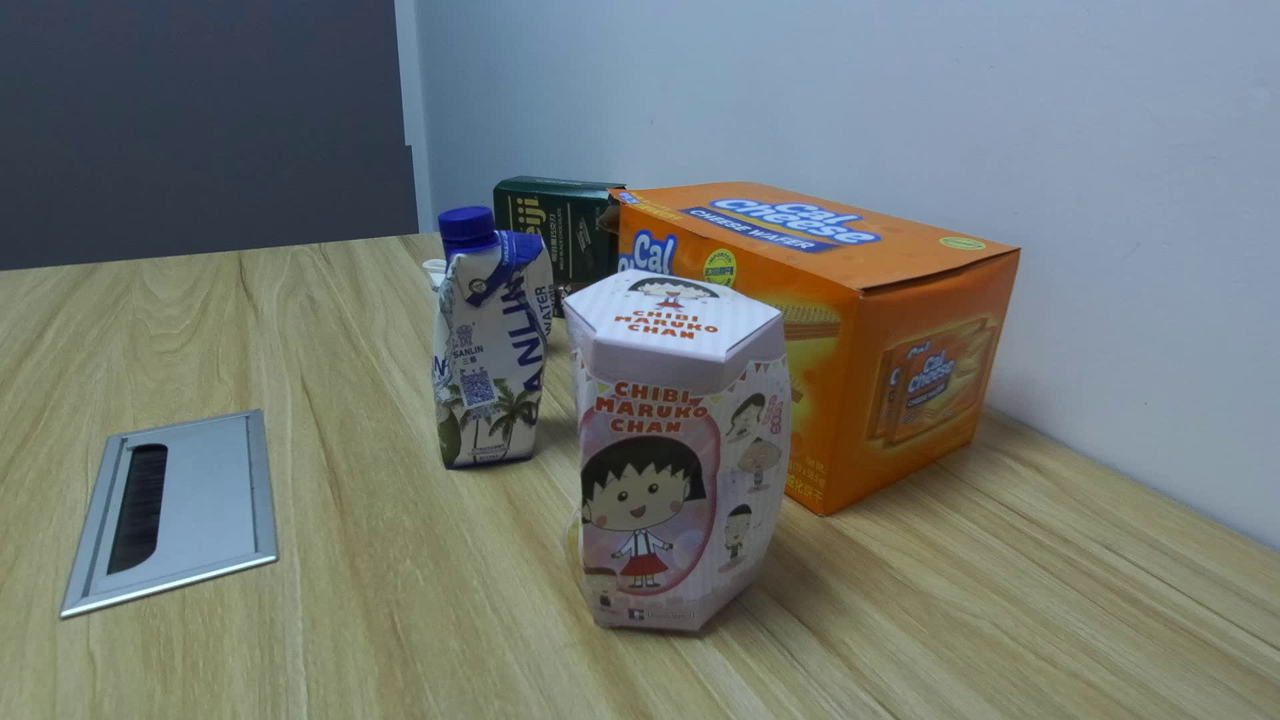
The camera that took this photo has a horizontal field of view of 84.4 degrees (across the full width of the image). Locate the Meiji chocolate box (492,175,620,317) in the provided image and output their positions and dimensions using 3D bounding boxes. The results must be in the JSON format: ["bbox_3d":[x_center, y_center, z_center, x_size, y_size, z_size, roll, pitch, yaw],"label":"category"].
[{"bbox_3d":[-0.066,-0.098,0.613,0.122,0.116,0.058,13,27,20],"label":"Meiji chocolate box"}]

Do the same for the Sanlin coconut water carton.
[{"bbox_3d":[-0.080,-0.011,0.394,0.069,0.144,0.056,3,31,-16],"label":"Sanlin coconut water carton"}]

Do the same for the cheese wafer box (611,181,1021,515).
[{"bbox_3d":[0.091,-0.031,0.458,0.150,0.137,0.226,-15,30,-33],"label":"cheese wafer box"}]
